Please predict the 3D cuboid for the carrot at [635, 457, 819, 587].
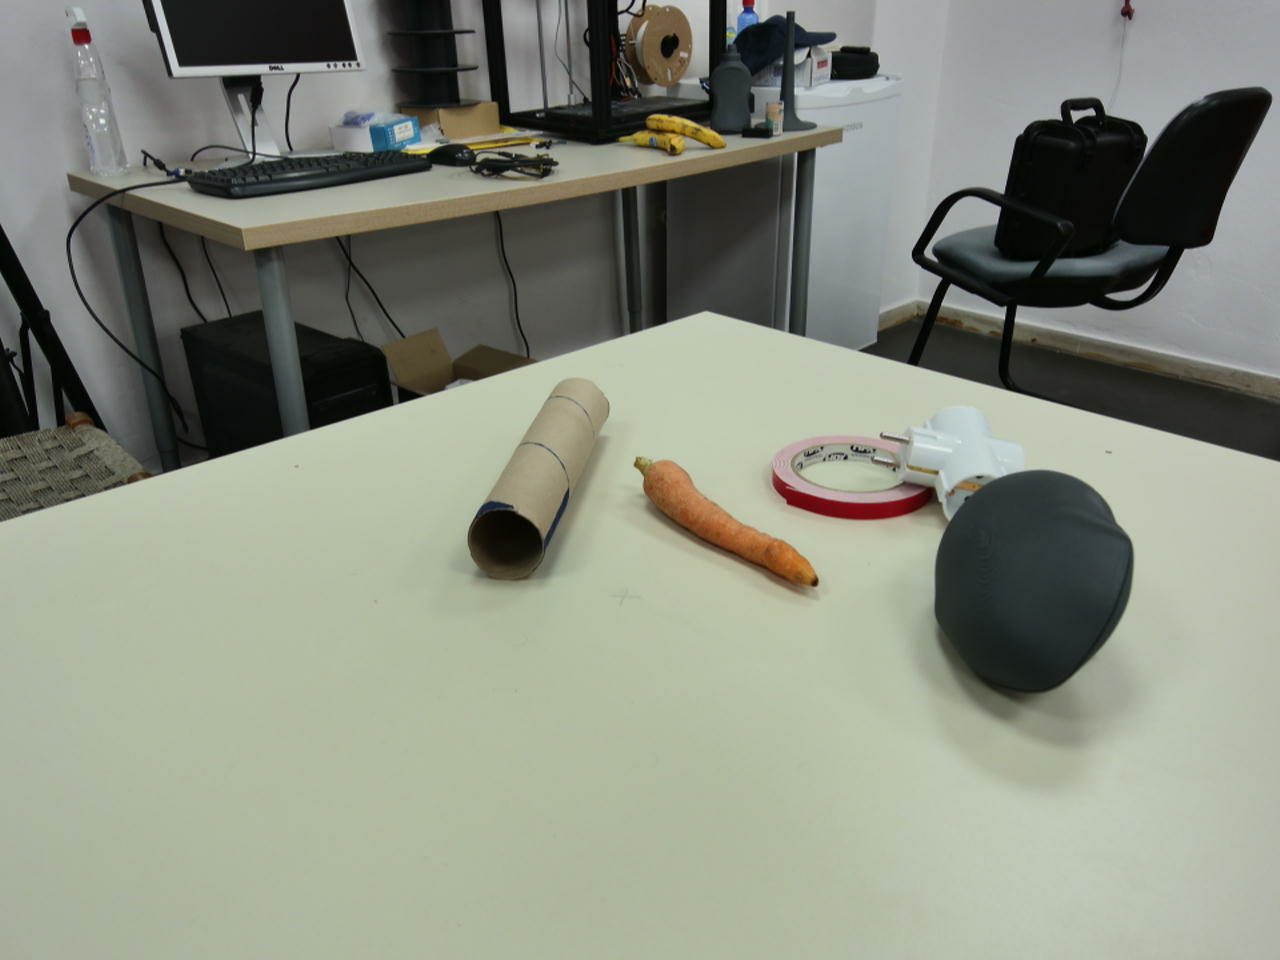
[{"bbox_3d":[0.049,0.023,0.620,0.030,0.032,0.173,-15,28,-30],"label":"carrot"}]
